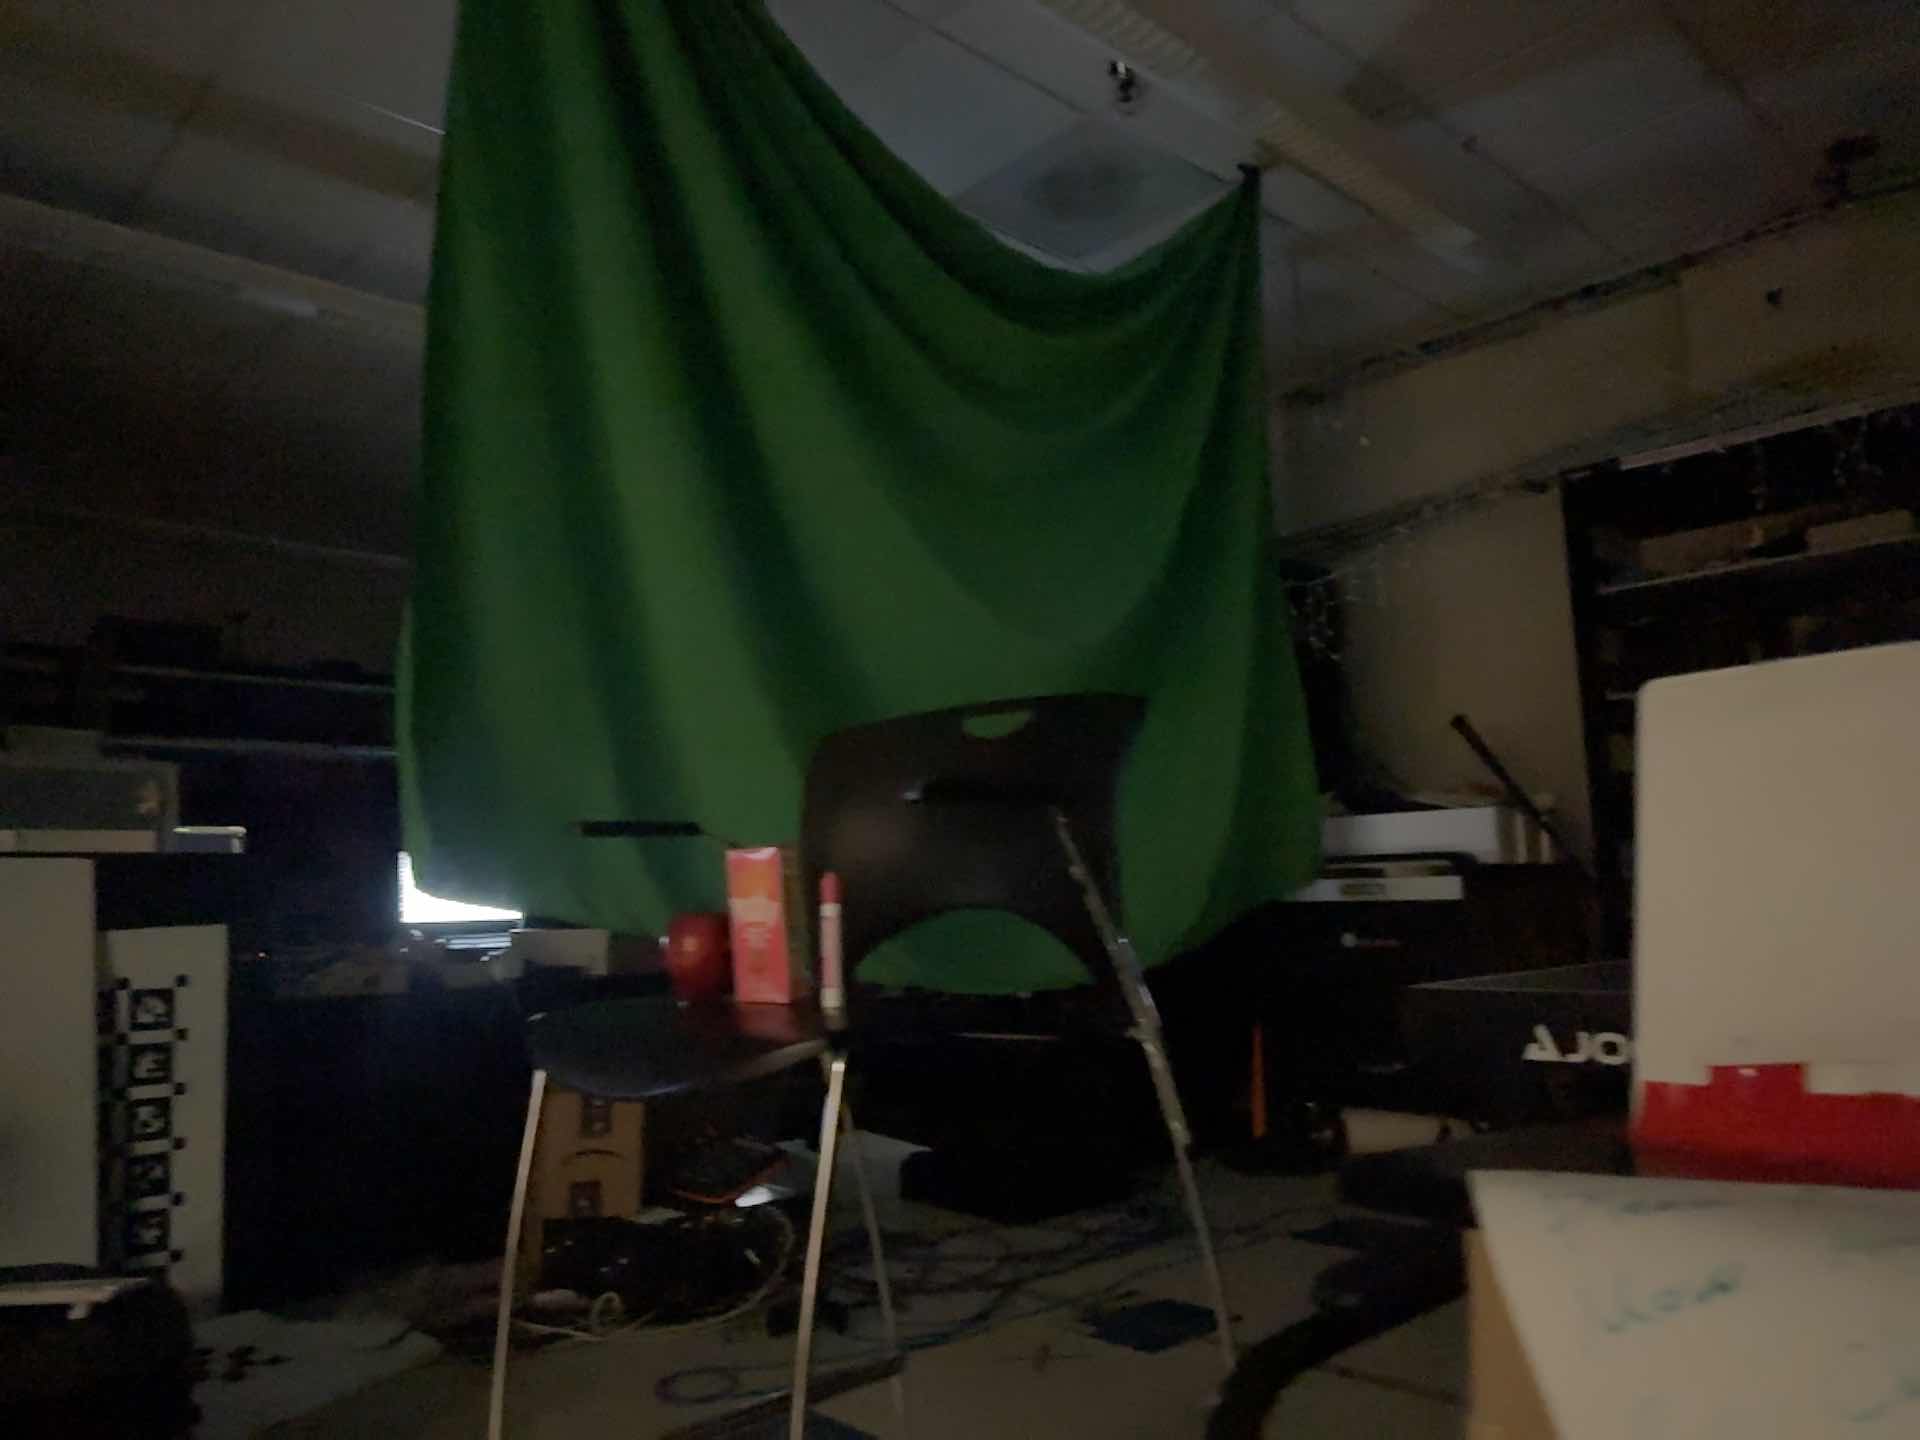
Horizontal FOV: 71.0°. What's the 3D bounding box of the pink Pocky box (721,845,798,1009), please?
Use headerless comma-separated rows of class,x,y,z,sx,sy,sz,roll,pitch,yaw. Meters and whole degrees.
pink Pocky box,-0.197,0.200,1.314,0.084,0.155,0.029,-6,-5,44

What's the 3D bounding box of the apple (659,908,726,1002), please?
apple,-0.266,0.239,1.372,0.079,0.093,0.079,2,-8,0

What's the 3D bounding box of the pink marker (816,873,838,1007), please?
pink marker,-0.123,0.201,1.239,0.020,0.121,0.020,-1,-4,0
